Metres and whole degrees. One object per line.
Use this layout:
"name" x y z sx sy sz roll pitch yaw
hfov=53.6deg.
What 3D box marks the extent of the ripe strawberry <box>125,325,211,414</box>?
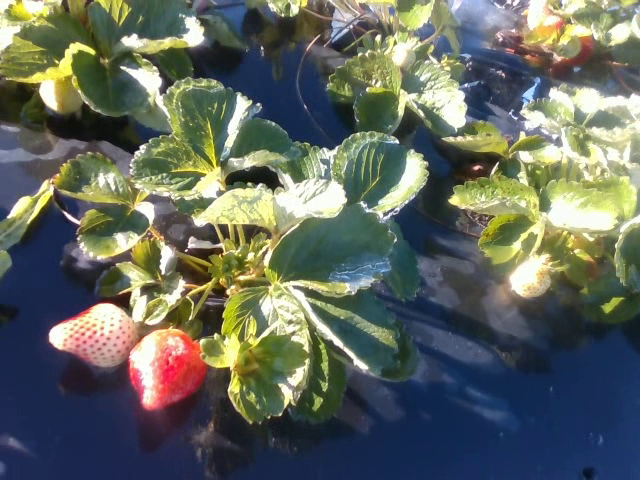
"ripe strawberry" -0.072 0.063 0.290 0.040 0.038 0.056 -13 6 6
